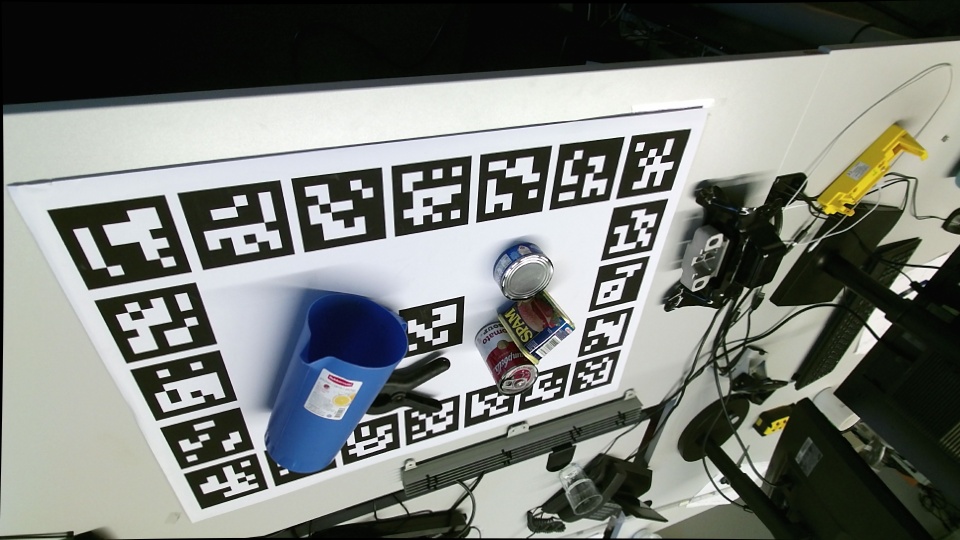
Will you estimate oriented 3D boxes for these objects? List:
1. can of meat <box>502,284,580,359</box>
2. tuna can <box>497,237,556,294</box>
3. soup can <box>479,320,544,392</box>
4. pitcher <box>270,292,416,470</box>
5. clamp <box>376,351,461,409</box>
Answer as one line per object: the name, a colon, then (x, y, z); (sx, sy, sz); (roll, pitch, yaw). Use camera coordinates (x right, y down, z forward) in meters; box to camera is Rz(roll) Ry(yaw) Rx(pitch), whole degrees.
can of meat: (0.097, 0.075, 0.840); (0.084, 0.101, 0.058); (-42, 131, 1)
tuna can: (0.070, -0.007, 0.813); (0.086, 0.033, 0.086); (-13, 127, -19)
soup can: (0.049, 0.137, 0.867); (0.068, 0.101, 0.068); (-15, 128, -21)
pitcher: (-0.190, 0.155, 0.729); (0.189, 0.133, 0.242); (-9, 138, -50)
clamp: (-0.115, 0.191, 0.877); (0.166, 0.036, 0.122); (-8, 131, -18)
